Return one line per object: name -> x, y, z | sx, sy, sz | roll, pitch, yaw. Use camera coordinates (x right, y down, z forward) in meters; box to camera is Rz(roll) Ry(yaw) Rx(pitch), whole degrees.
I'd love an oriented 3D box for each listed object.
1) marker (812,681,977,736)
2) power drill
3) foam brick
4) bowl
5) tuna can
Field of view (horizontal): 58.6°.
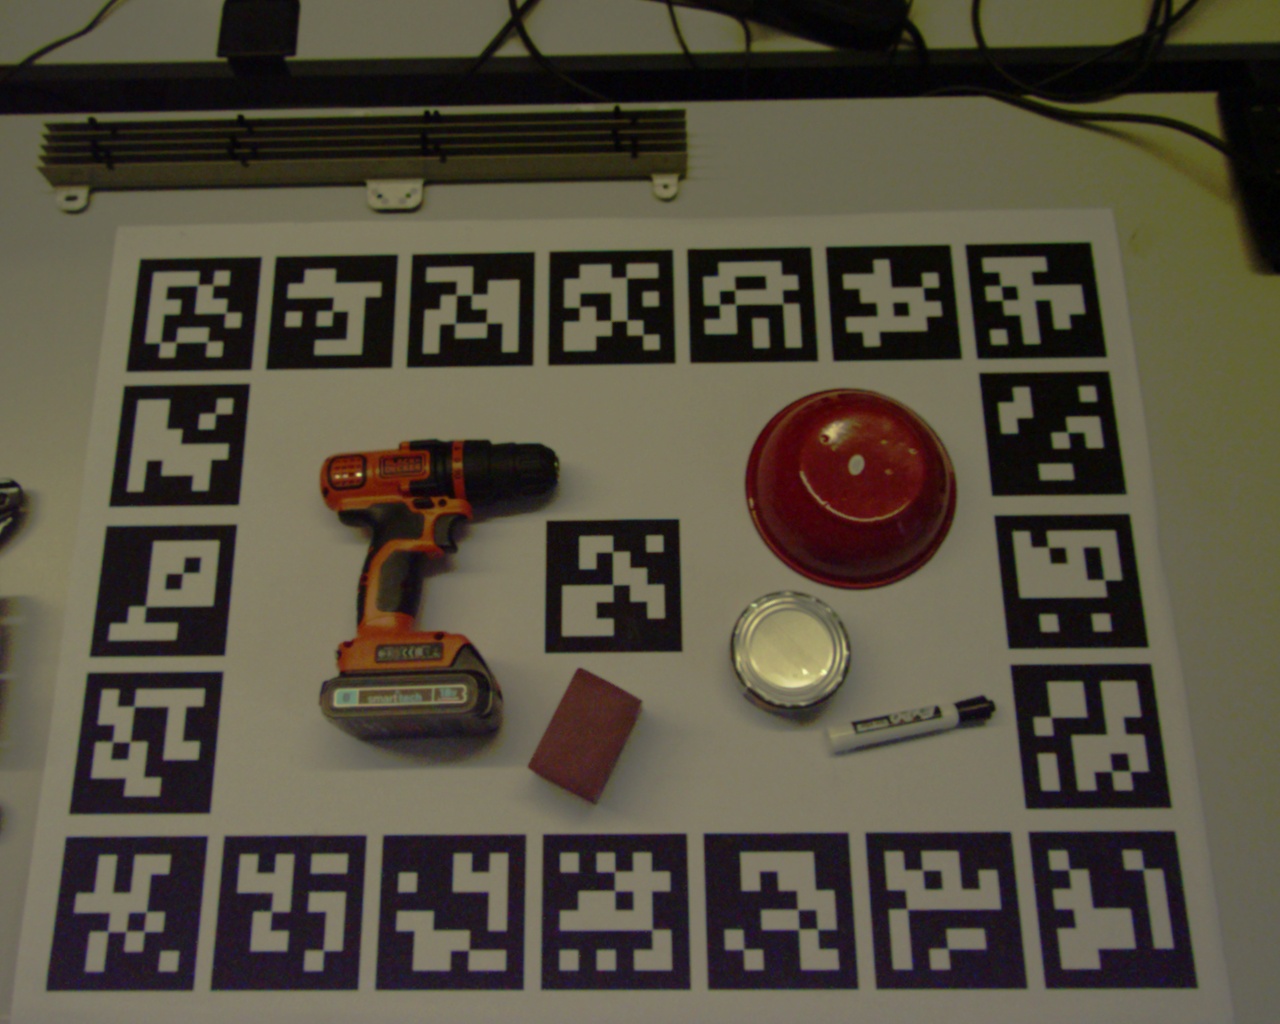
marker -> 0.188, 0.144, 0.840 | 0.121, 0.019, 0.020 | -11, 75, -2
power drill -> -0.160, 0.050, 0.861 | 0.184, 0.057, 0.187 | -2, 71, -3
foam brick -> -0.041, 0.156, 0.832 | 0.051, 0.052, 0.078 | 22, 76, 5
bowl -> 0.148, -0.031, 0.886 | 0.162, 0.055, 0.162 | -2, 67, 4
tuna can -> 0.101, 0.095, 0.850 | 0.086, 0.033, 0.086 | 0, 74, -1
